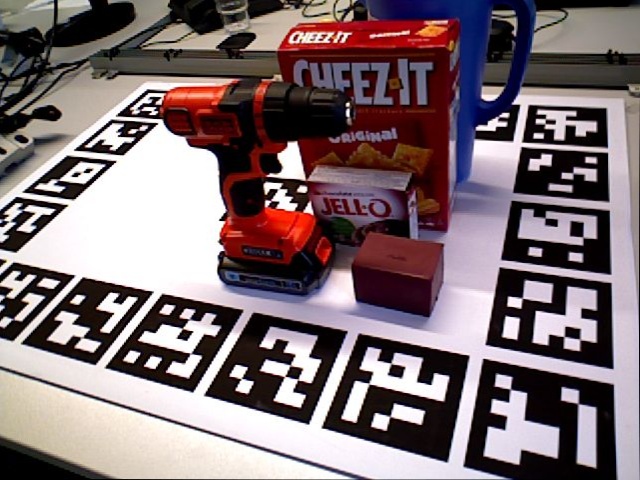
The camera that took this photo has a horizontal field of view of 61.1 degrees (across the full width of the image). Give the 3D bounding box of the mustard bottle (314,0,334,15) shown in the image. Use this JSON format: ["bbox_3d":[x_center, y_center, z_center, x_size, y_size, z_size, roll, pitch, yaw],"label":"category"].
[{"bbox_3d":[0.018,-0.188,0.656,0.096,0.195,0.057,20,51,30],"label":"mustard bottle"}]

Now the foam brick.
[{"bbox_3d":[0.077,0.032,0.524,0.078,0.052,0.051,11,48,23],"label":"foam brick"}]

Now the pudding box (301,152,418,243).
[{"bbox_3d":[0.042,-0.042,0.564,0.114,0.091,0.038,8,43,24],"label":"pudding box"}]

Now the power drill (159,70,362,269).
[{"bbox_3d":[-0.046,-0.063,0.502,0.185,0.191,0.056,9,42,20],"label":"power drill"}]

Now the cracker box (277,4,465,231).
[{"bbox_3d":[0.059,-0.113,0.555,0.165,0.217,0.070,6,43,22],"label":"cracker box"}]

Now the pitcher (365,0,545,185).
[{"bbox_3d":[0.139,-0.178,0.599,0.190,0.247,0.130,13,47,27],"label":"pitcher"}]
